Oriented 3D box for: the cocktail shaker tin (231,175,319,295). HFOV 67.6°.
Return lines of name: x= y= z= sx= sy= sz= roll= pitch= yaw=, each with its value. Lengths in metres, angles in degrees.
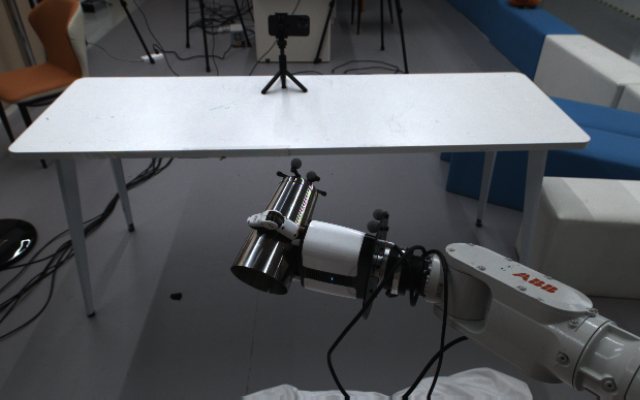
cocktail shaker tin: x=-0.063 y=0.050 z=0.749 sx=0.093 sy=0.093 sz=0.170 roll=14 pitch=62 yaw=17
